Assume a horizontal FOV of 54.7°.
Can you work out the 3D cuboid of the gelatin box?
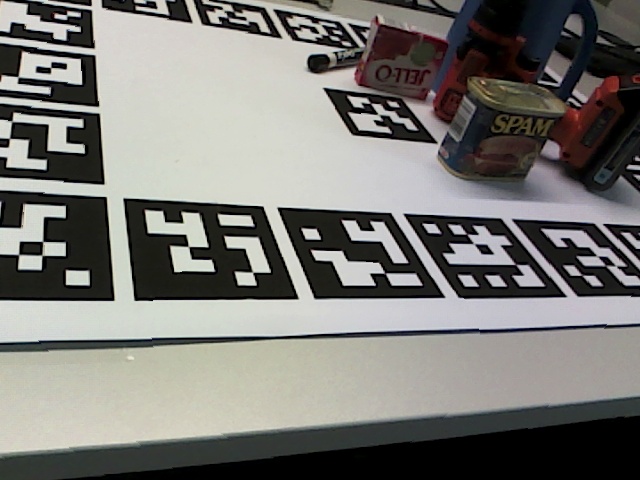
[{"bbox_3d":[0.100,-0.208,0.728,0.089,0.073,0.030,11,41,-15],"label":"gelatin box"}]

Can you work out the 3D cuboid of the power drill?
[{"bbox_3d":[0.231,-0.181,0.661,0.187,0.184,0.057,29,40,2],"label":"power drill"}]

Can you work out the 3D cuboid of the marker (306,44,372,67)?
[{"bbox_3d":[0.029,-0.228,0.760,0.120,0.019,0.020,-21,54,-41],"label":"marker"}]

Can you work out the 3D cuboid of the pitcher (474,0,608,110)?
[{"bbox_3d":[0.254,-0.264,0.739,0.189,0.242,0.133,18,39,8],"label":"pitcher"}]

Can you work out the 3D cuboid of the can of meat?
[{"bbox_3d":[0.173,-0.106,0.617,0.101,0.084,0.058,2,38,-24],"label":"can of meat"}]
